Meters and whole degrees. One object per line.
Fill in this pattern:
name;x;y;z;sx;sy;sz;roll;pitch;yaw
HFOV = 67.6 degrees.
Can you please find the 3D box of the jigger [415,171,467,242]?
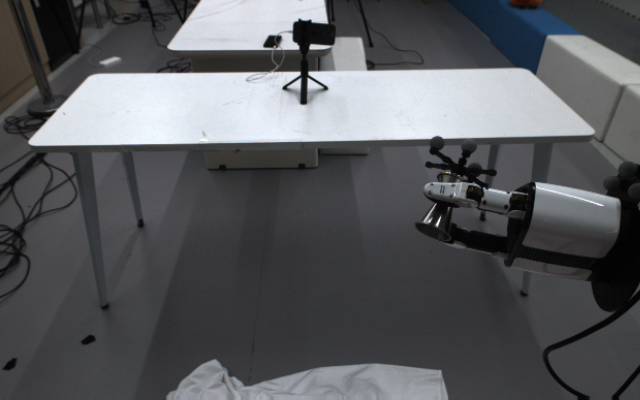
jigger;0.141;0.005;0.553;0.043;0.043;0.071;20;73;24
